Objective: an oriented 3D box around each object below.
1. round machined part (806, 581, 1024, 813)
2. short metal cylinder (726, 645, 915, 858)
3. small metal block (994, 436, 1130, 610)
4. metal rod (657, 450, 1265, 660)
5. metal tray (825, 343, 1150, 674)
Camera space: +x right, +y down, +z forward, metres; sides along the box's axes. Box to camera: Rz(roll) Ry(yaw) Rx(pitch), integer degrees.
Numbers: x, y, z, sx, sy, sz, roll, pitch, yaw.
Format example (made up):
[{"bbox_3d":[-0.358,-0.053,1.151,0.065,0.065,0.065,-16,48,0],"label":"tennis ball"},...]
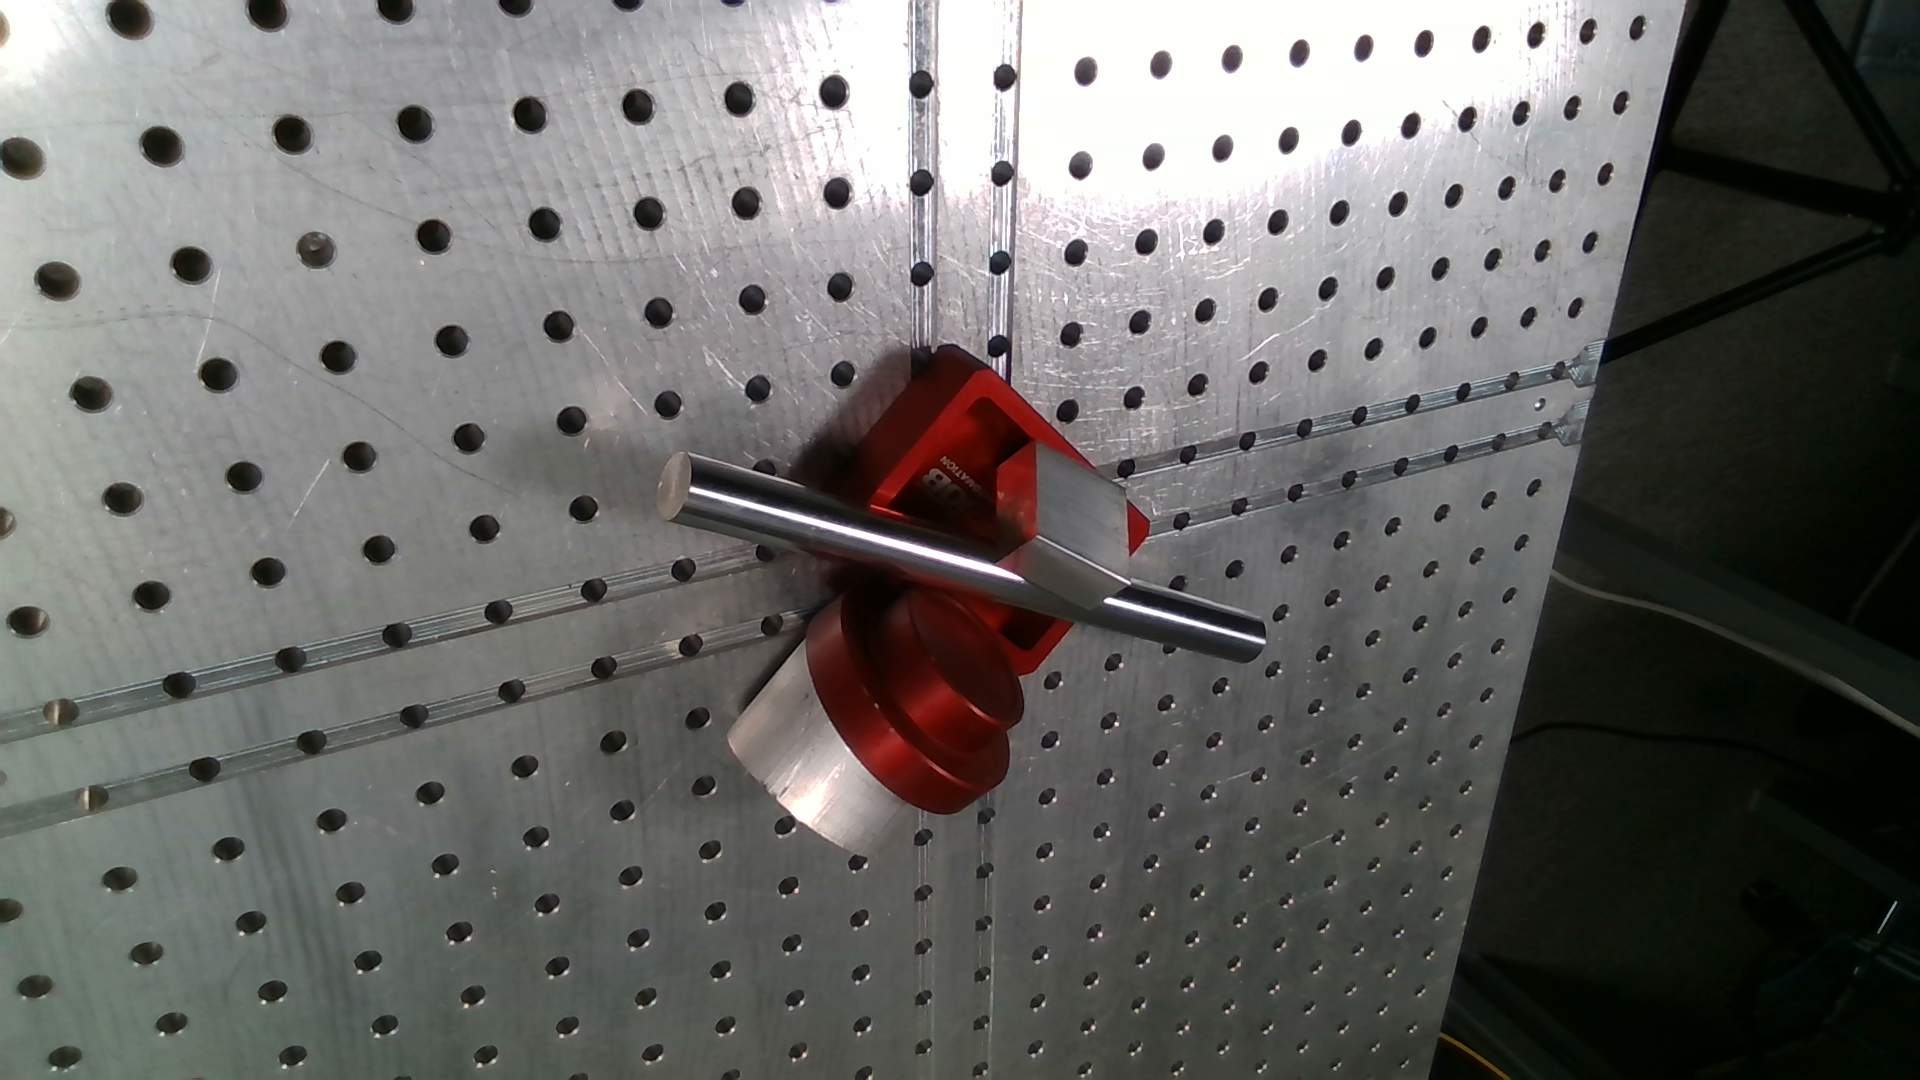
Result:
[{"bbox_3d":[-0.012,0.056,0.546,0.042,0.098,0.098,-38,132,20],"label":"round machined part"},{"bbox_3d":[-0.048,0.084,0.563,0.050,0.080,0.080,-50,129,1],"label":"short metal cylinder"},{"bbox_3d":[0.042,-0.007,0.561,0.050,0.050,0.025,26,138,-29],"label":"small metal block"},{"bbox_3d":[0.018,0.013,0.563,0.300,0.025,0.025,15,106,-36],"label":"metal rod"},{"bbox_3d":[0.012,-0.010,0.582,0.090,0.030,0.130,-50,129,1],"label":"metal tray"}]
